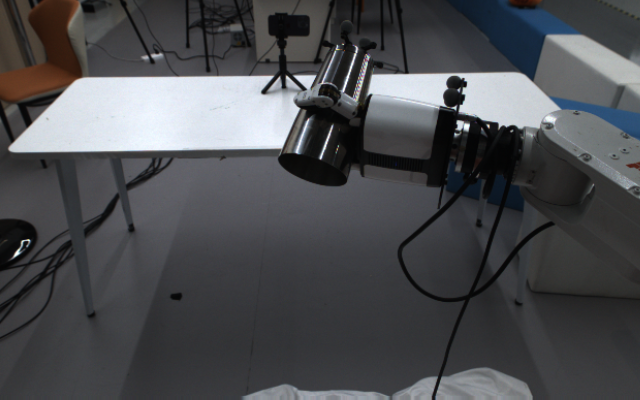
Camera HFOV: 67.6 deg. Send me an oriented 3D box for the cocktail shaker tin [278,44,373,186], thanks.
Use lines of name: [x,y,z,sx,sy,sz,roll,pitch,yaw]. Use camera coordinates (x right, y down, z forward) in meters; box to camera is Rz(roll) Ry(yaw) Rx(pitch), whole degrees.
cocktail shaker tin: [0.016,-0.113,0.629,0.093,0.093,0.170,14,73,17]
